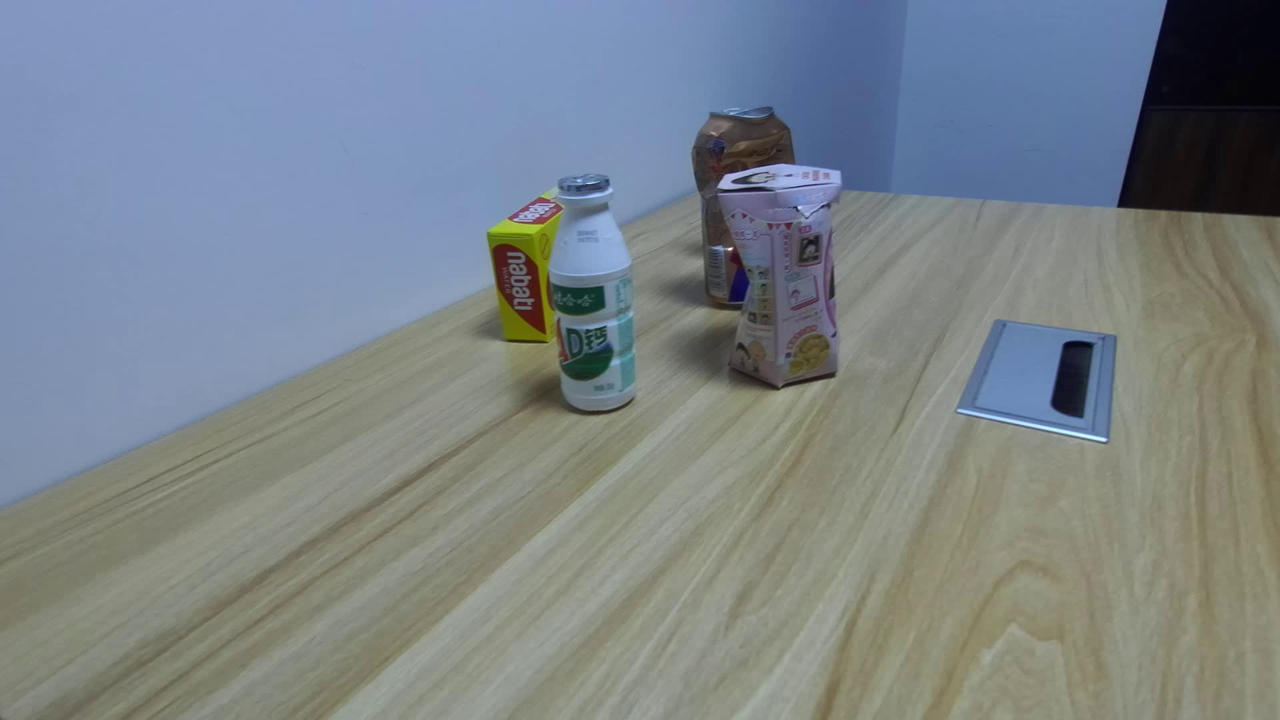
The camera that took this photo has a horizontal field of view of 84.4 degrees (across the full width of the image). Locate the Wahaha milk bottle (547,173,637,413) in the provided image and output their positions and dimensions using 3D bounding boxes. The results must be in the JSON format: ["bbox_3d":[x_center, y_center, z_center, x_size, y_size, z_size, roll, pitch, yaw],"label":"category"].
[{"bbox_3d":[-0.030,-0.041,0.449,0.053,0.147,0.053,-3,24,2],"label":"Wahaha milk bottle"}]

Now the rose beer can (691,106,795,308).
[{"bbox_3d":[0.090,-0.129,0.603,0.068,0.162,0.074,12,33,29],"label":"rose beer can"}]

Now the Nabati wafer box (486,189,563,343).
[{"bbox_3d":[-0.070,-0.100,0.637,0.042,0.093,0.203,4,28,14],"label":"Nabati wafer box"}]

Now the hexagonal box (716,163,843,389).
[{"bbox_3d":[0.096,-0.058,0.485,0.091,0.134,0.089,-21,27,-31],"label":"hexagonal box"}]
